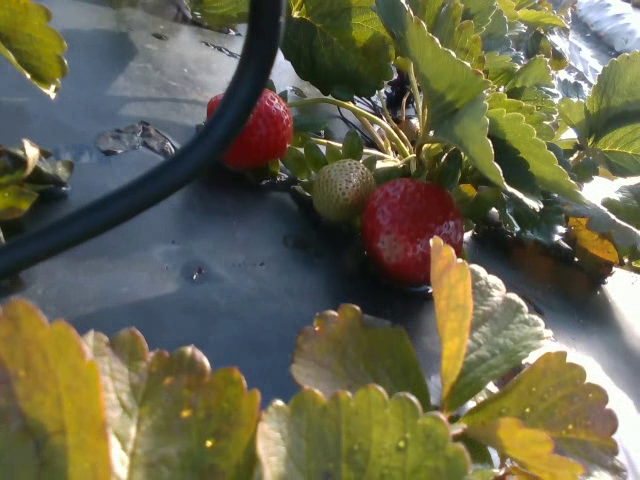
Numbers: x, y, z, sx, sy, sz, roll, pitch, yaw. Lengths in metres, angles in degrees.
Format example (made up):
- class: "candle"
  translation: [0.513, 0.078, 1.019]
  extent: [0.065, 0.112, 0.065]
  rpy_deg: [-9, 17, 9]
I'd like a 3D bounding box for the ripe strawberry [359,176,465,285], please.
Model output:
- class: "ripe strawberry"
  translation: [0.036, -0.003, 0.252]
  extent: [0.048, 0.050, 0.065]
  rpy_deg: [-10, 24, 31]
